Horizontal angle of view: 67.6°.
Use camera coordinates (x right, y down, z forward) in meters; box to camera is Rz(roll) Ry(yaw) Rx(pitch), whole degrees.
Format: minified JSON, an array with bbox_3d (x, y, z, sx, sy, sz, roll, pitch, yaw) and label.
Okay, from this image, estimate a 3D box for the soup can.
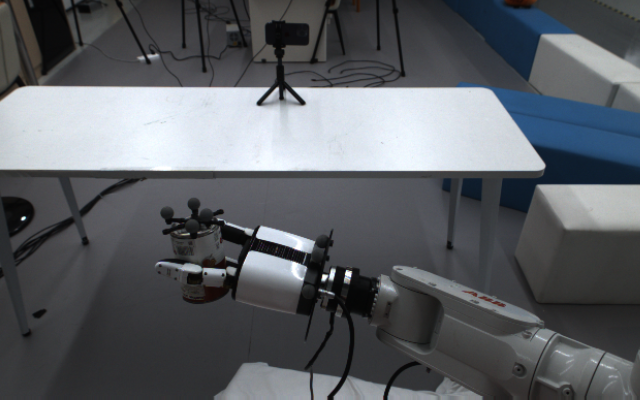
[{"bbox_3d":[-0.161,0.082,0.660,0.067,0.101,0.067,-4,21,2],"label":"soup can"}]
